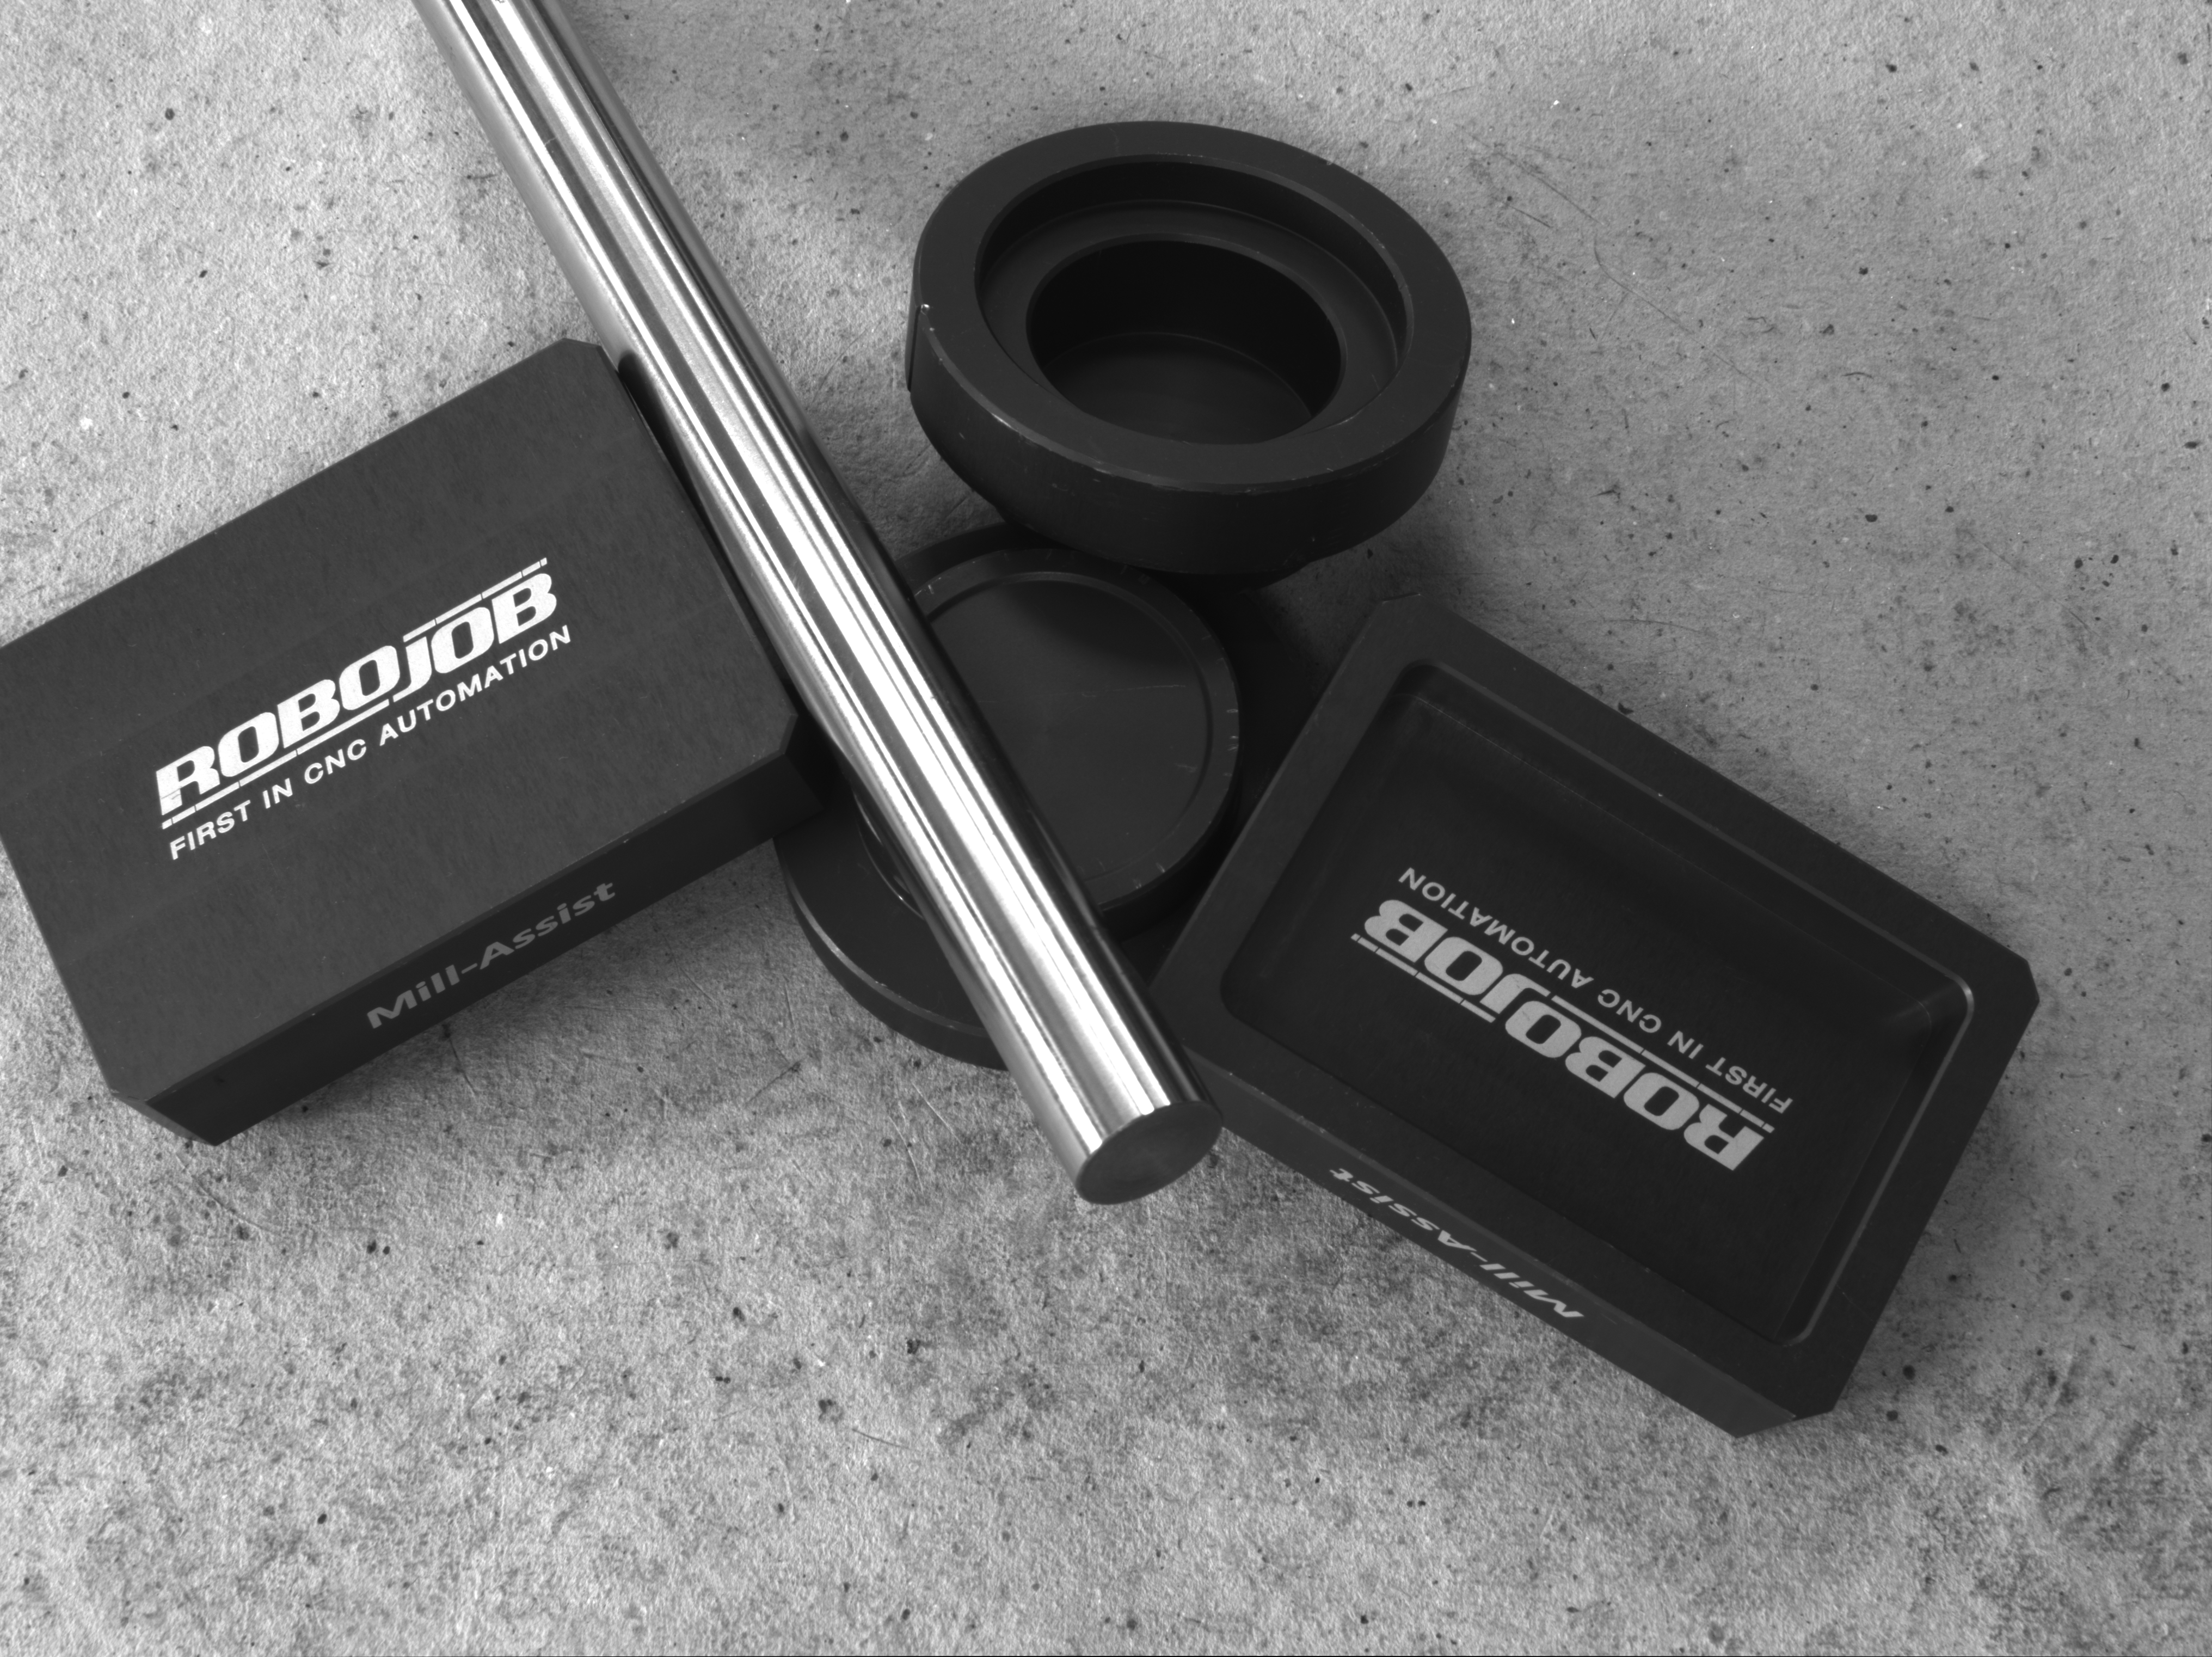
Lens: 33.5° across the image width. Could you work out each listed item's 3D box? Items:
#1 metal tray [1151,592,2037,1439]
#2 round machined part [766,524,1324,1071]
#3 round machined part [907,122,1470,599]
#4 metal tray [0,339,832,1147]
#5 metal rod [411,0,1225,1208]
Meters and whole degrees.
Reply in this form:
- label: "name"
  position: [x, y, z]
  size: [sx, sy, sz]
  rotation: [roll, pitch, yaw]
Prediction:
- label: "metal tray"
  position: [0.079, 0.032, 0.620]
  size: [0.130, 0.030, 0.090]
  rotation: [31, 73, 0]
- label: "round machined part"
  position: [-0.011, -0.010, 0.641]
  size: [0.098, 0.042, 0.098]
  rotation: [0, 70, 0]
- label: "round machined part"
  position: [0.013, -0.079, 0.654]
  size: [0.098, 0.042, 0.098]
  rotation: [4, 48, -5]
- label: "metal tray"
  position: [-0.124, -0.015, 0.637]
  size: [0.130, 0.030, 0.090]
  rotation: [-29, 69, -1]
- label: "metal rod"
  position: [-0.060, -0.061, 0.632]
  size: [0.025, 0.025, 0.299]
  rotation: [-26, 59, -9]
